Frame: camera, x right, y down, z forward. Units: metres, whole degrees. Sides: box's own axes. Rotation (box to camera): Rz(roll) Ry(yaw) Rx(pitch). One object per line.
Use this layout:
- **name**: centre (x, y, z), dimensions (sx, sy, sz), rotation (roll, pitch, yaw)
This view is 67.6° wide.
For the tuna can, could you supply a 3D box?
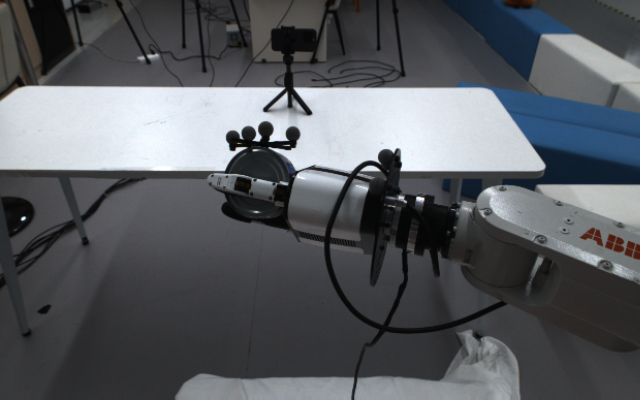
- **tuna can**: centre (-0.069, -0.020, 0.585), dimensions (0.085, 0.085, 0.034), rotation (15, 1, 18)
